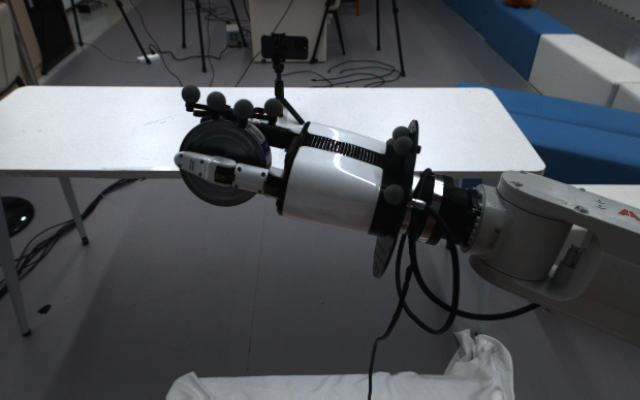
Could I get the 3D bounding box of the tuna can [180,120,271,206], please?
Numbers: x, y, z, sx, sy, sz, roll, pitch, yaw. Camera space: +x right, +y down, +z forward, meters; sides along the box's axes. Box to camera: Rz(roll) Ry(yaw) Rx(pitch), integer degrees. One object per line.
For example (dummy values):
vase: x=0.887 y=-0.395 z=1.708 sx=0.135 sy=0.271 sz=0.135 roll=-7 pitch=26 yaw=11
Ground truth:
tuna can: x=-0.090 y=-0.040 z=0.477 sx=0.085 sy=0.085 sz=0.034 roll=5 pitch=18 yaw=4
